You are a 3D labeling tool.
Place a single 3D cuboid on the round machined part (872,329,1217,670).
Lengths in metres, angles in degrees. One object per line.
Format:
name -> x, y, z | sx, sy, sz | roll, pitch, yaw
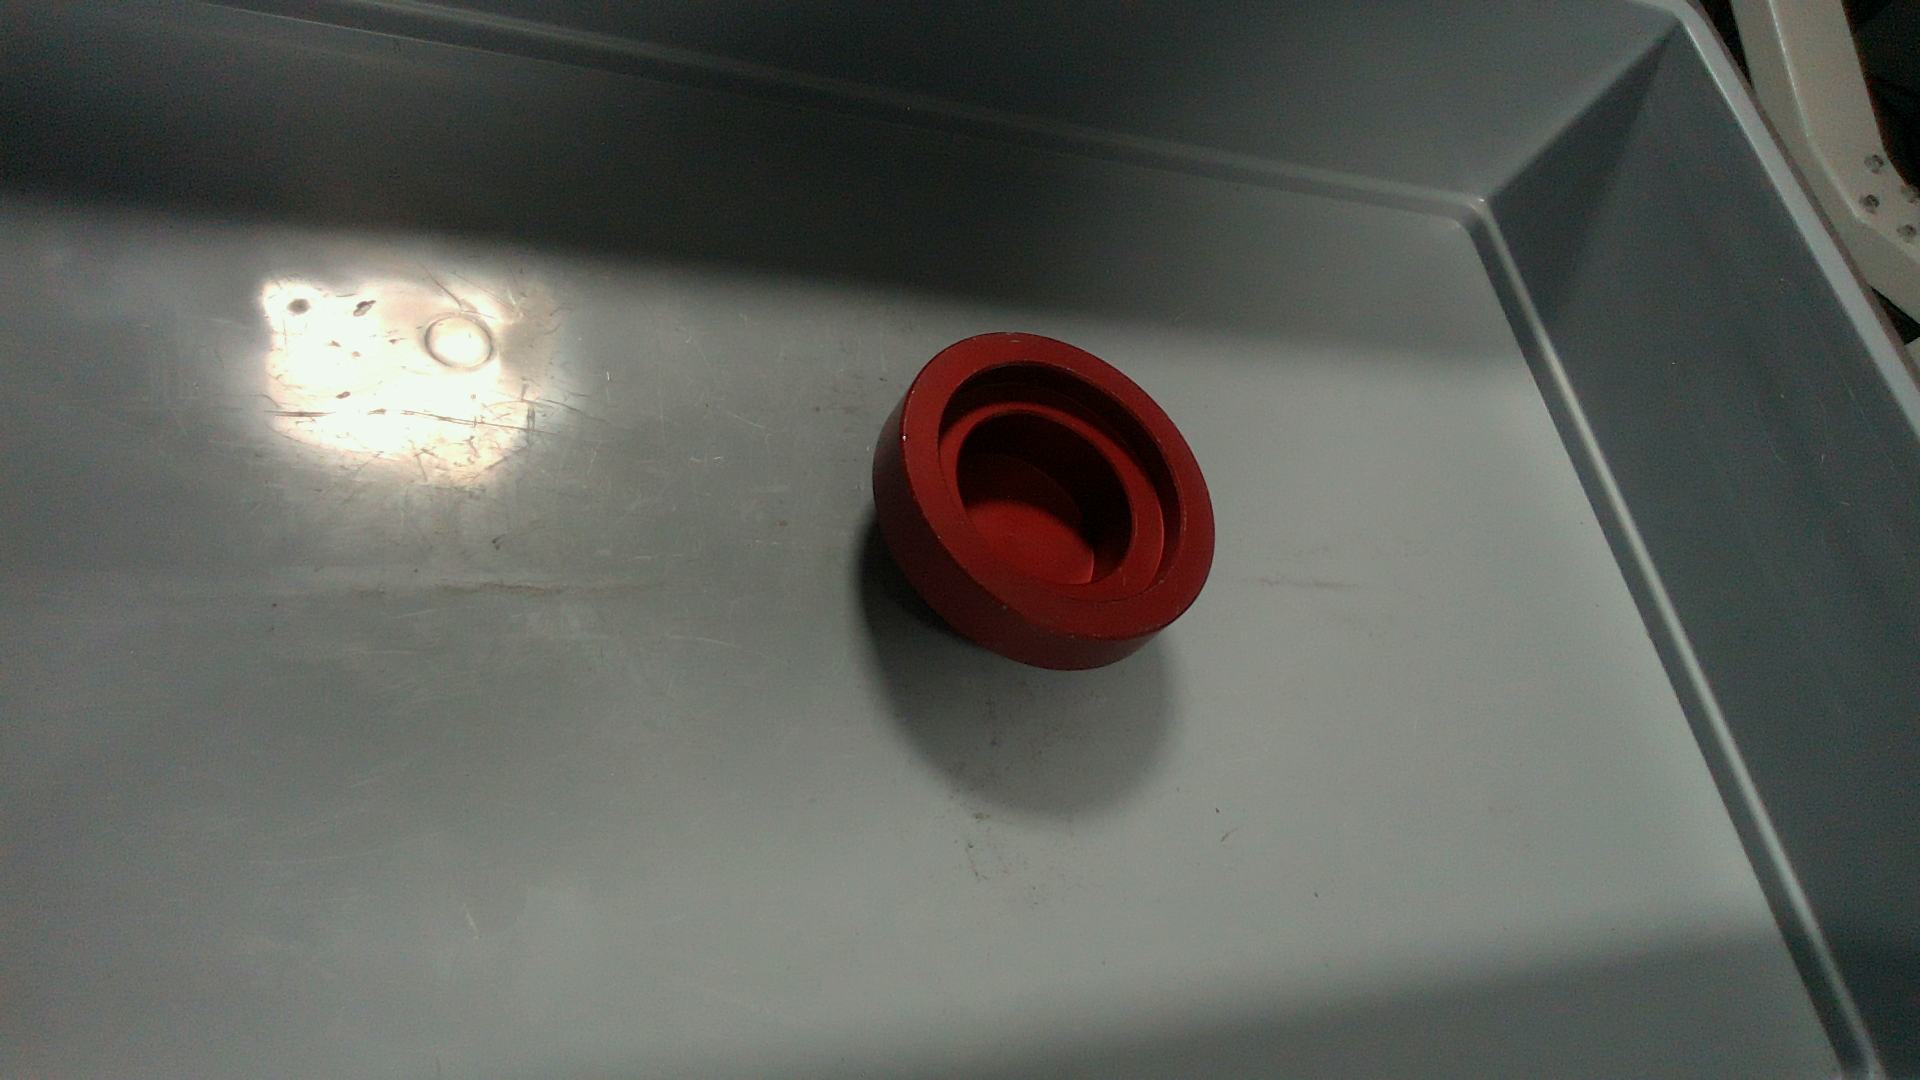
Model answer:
round machined part -> 0.020, -0.008, 0.390 | 0.098, 0.042, 0.098 | 14, 56, -21
